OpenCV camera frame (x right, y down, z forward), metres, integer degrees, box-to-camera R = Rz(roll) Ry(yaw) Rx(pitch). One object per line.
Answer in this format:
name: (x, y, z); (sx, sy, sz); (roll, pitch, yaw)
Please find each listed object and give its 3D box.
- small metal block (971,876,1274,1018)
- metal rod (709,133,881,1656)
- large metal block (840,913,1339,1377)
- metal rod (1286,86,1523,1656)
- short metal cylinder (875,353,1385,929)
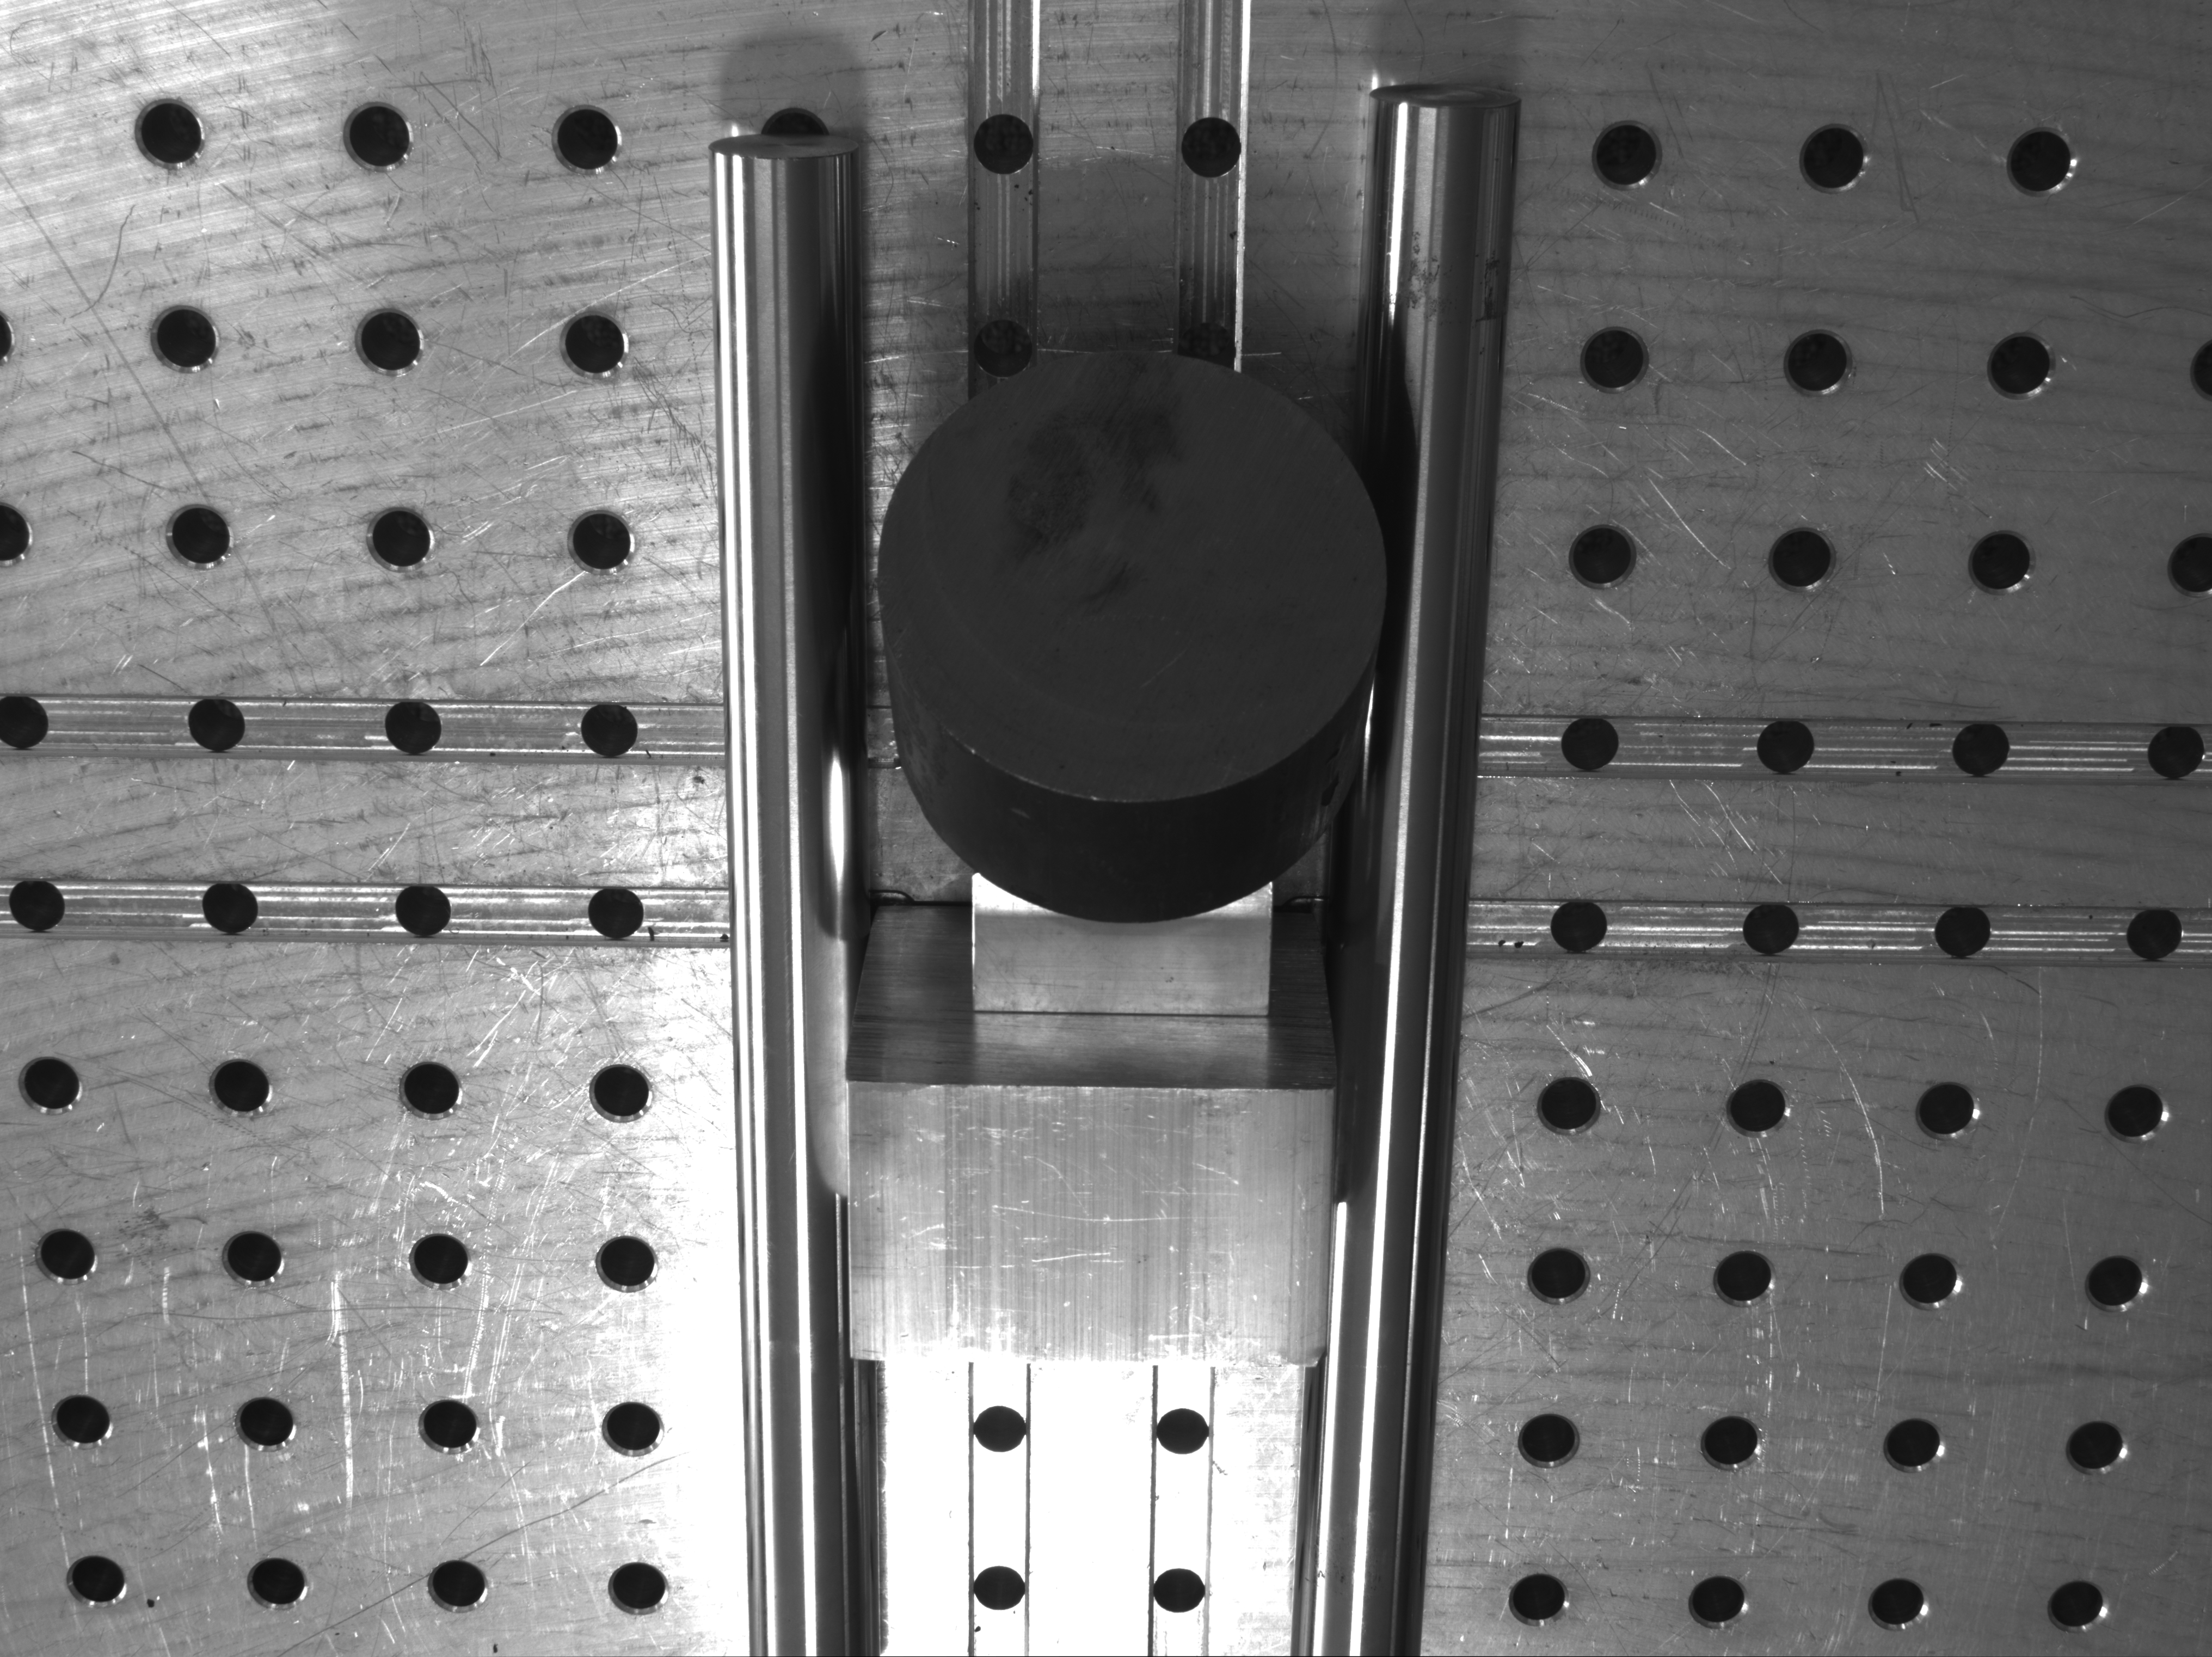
small metal block: (0.003, 0.011, 0.637); (0.050, 0.050, 0.025); (1, 110, -1)
metal rod: (-0.054, 0.028, 0.657); (0.025, 0.025, 0.300); (1, 110, 0)
large metal block: (-0.003, 0.053, 0.634); (0.080, 0.080, 0.050); (1, 110, 0)
metal rod: (0.051, 0.021, 0.654); (0.025, 0.025, 0.300); (2, 110, 0)
short metal cylinder: (0.004, -0.030, 0.600); (0.080, 0.050, 0.080); (0, 66, -1)
